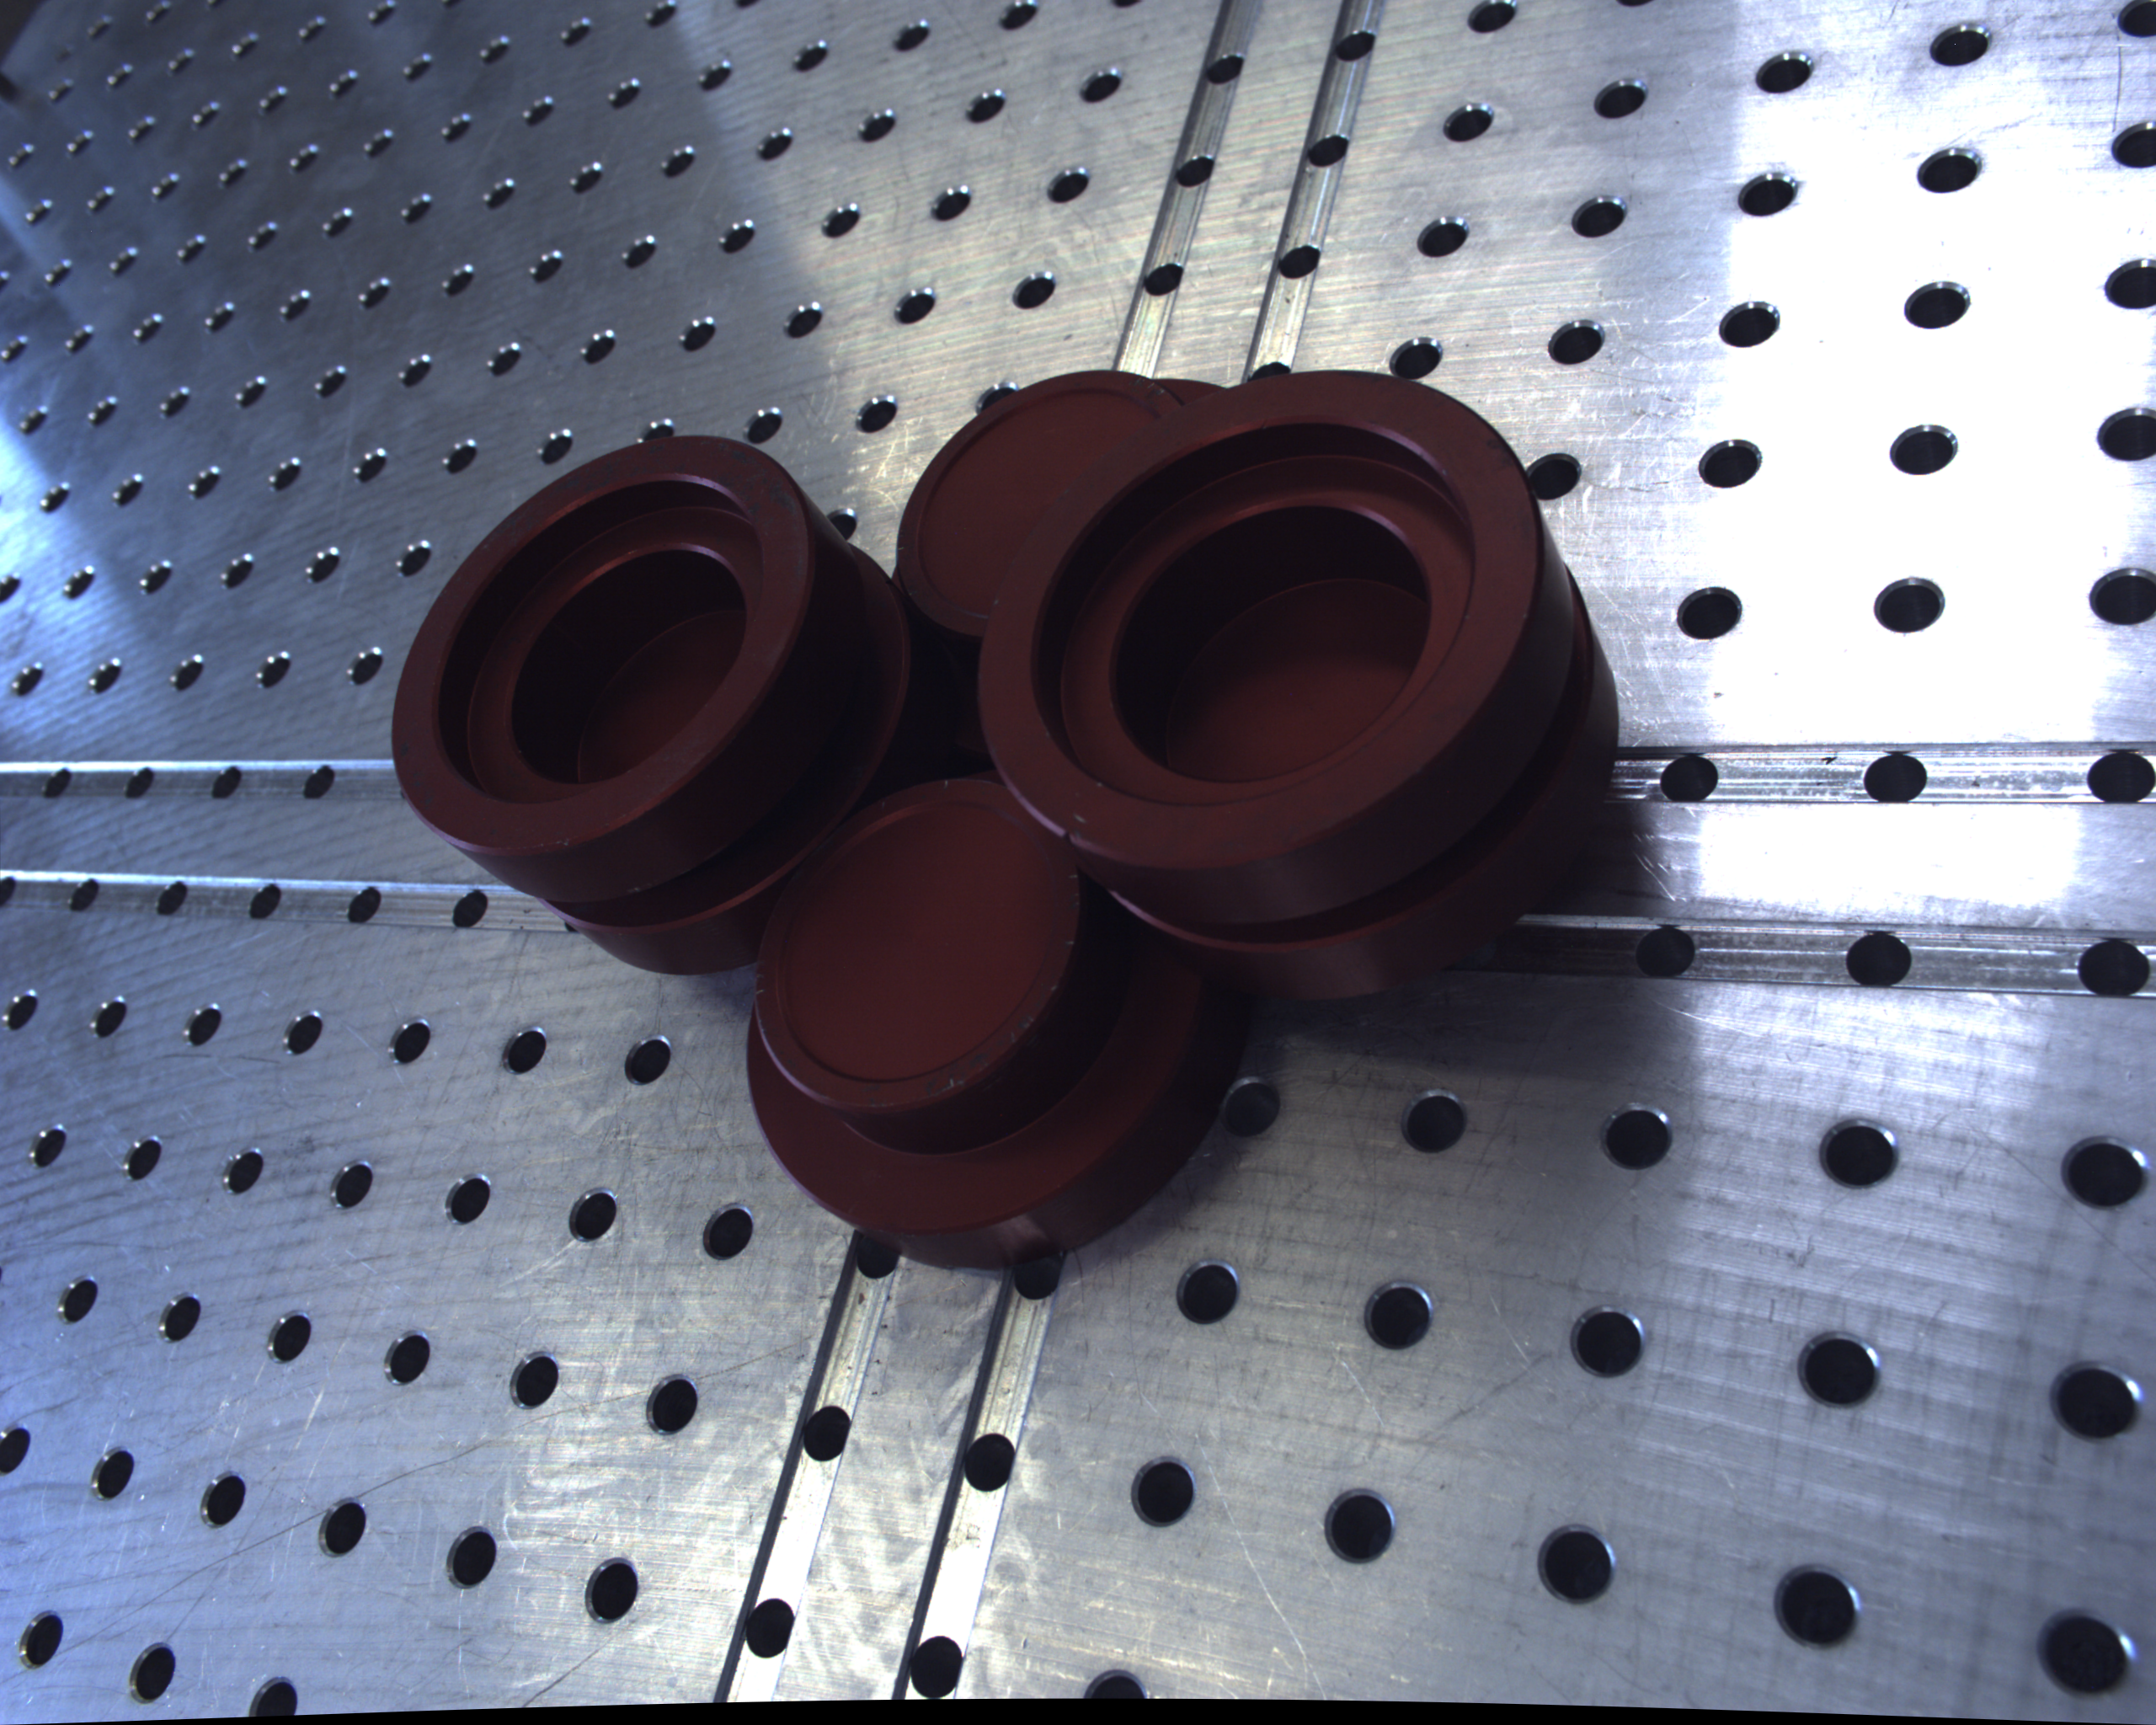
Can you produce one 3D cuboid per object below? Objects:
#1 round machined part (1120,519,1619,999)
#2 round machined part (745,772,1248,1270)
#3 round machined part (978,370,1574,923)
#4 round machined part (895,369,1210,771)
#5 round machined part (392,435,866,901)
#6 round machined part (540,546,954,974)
[{"bbox_3d":[0.050,-0.019,0.383,0.098,0.042,0.098,-13,56,21],"label":"round machined part"},{"bbox_3d":[-0.021,0.023,0.394,0.098,0.042,0.098,-13,56,21],"label":"round machined part"},{"bbox_3d":[0.036,-0.033,0.357,0.098,0.042,0.098,-13,56,21],"label":"round machined part"},{"bbox_3d":[0.002,-0.063,0.436,0.098,0.042,0.098,-13,56,21],"label":"round machined part"},{"bbox_3d":[-0.086,-0.035,0.423,0.098,0.042,0.098,-13,56,21],"label":"round machined part"},{"bbox_3d":[-0.070,-0.020,0.447,0.098,0.042,0.098,-13,56,21],"label":"round machined part"}]
